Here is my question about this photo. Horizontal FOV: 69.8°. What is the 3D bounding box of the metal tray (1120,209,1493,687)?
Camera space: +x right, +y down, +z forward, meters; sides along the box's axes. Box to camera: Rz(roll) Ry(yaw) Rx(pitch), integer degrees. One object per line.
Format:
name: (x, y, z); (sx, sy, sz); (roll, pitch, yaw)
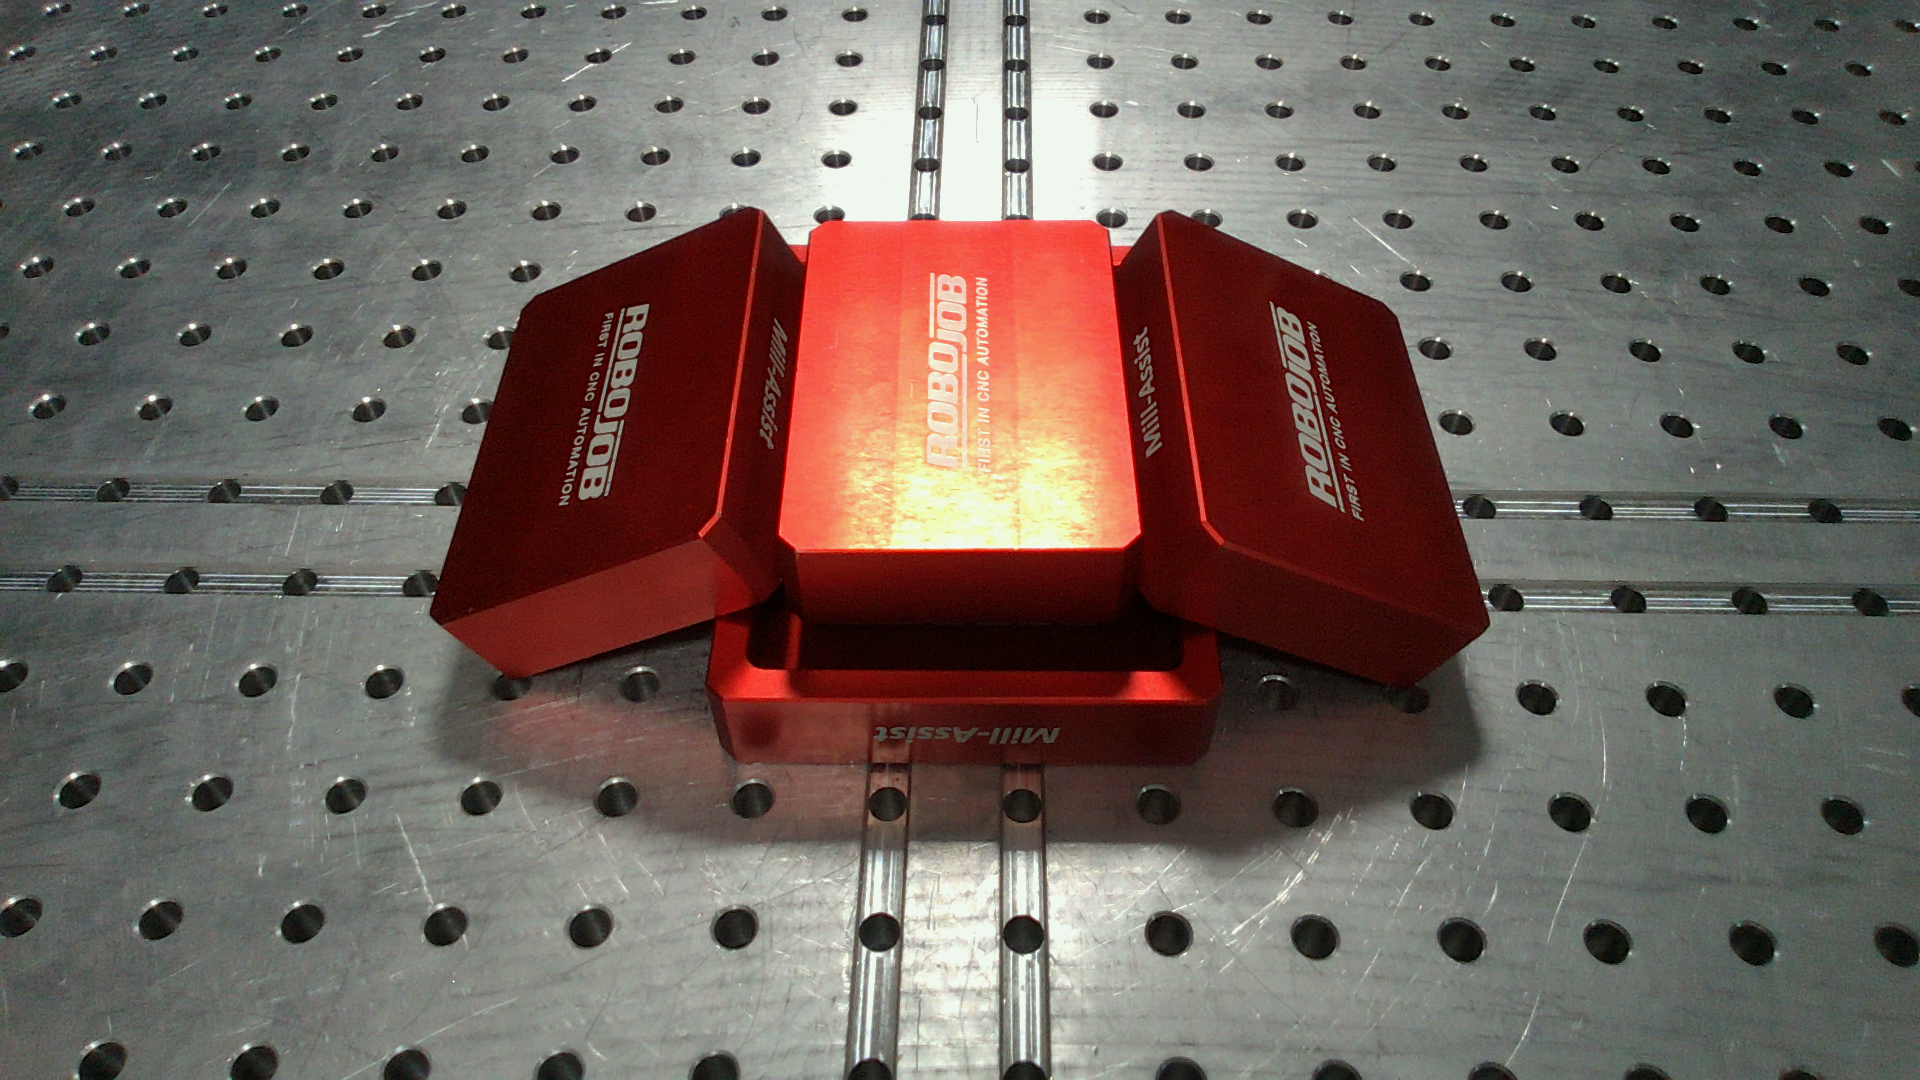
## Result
metal tray: (0.092, -0.029, 0.391); (0.090, 0.030, 0.130); (18, 47, -21)

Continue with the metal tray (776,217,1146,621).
metal tray: (0.000, -0.038, 0.384); (0.090, 0.030, 0.130); (0, 50, 0)

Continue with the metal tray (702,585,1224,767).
metal tray: (0.001, 0.016, 0.379); (0.130, 0.030, 0.090); (0, 50, 0)

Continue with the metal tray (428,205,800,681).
metal tray: (-0.093, -0.031, 0.394); (0.090, 0.030, 0.130); (-18, 47, 20)

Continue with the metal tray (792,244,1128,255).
metal tray: (0.001, -0.054, 0.437); (0.130, 0.030, 0.090); (0, 50, 0)
